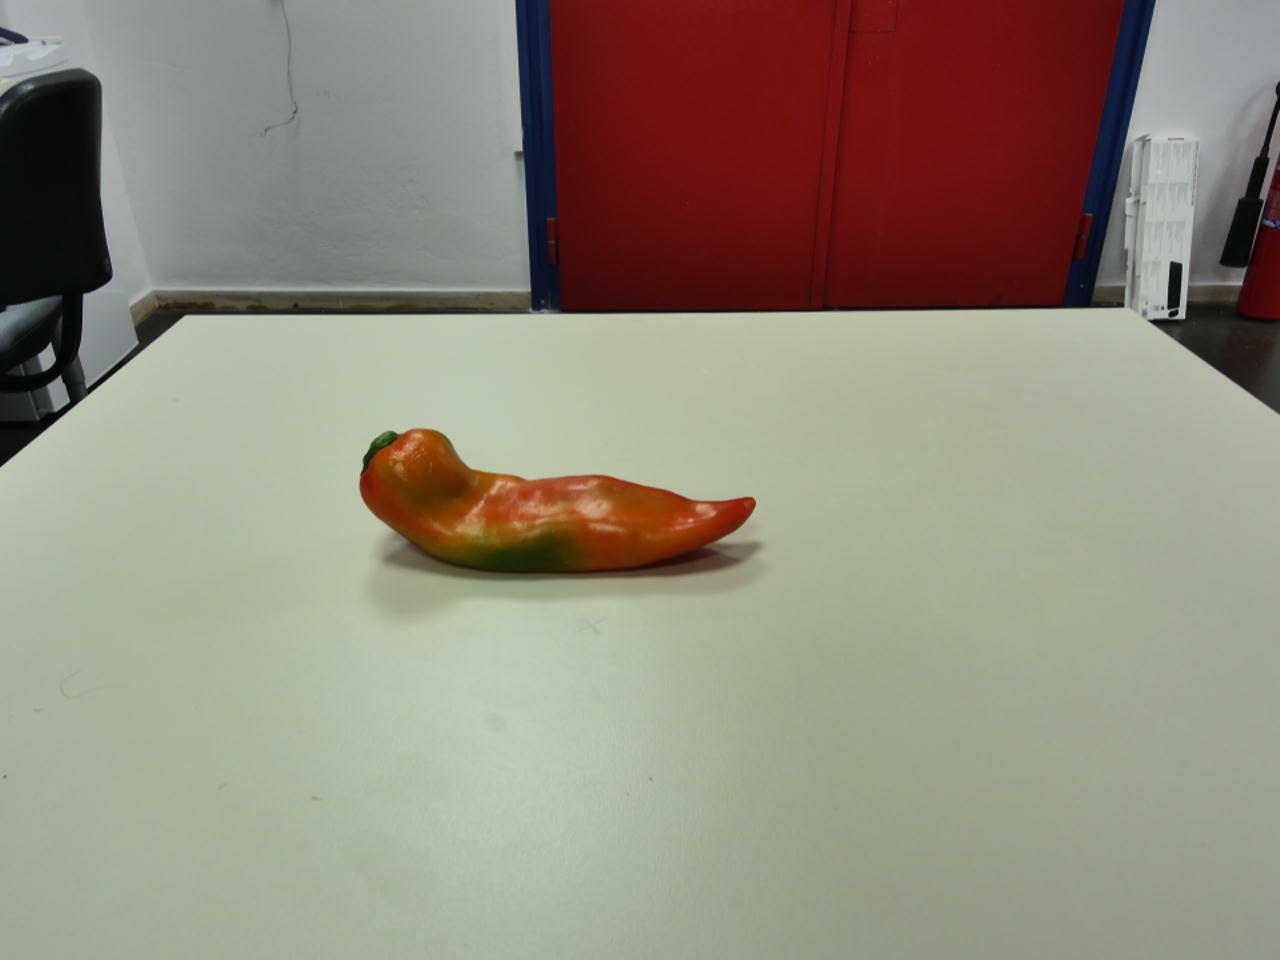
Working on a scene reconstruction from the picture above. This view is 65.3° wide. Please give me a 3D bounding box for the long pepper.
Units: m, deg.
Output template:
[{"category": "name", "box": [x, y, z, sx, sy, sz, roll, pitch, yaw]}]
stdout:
[{"category": "long pepper", "box": [-0.041, 0.007, 0.506, 0.199, 0.065, 0.066, 2, 26, 5]}]
